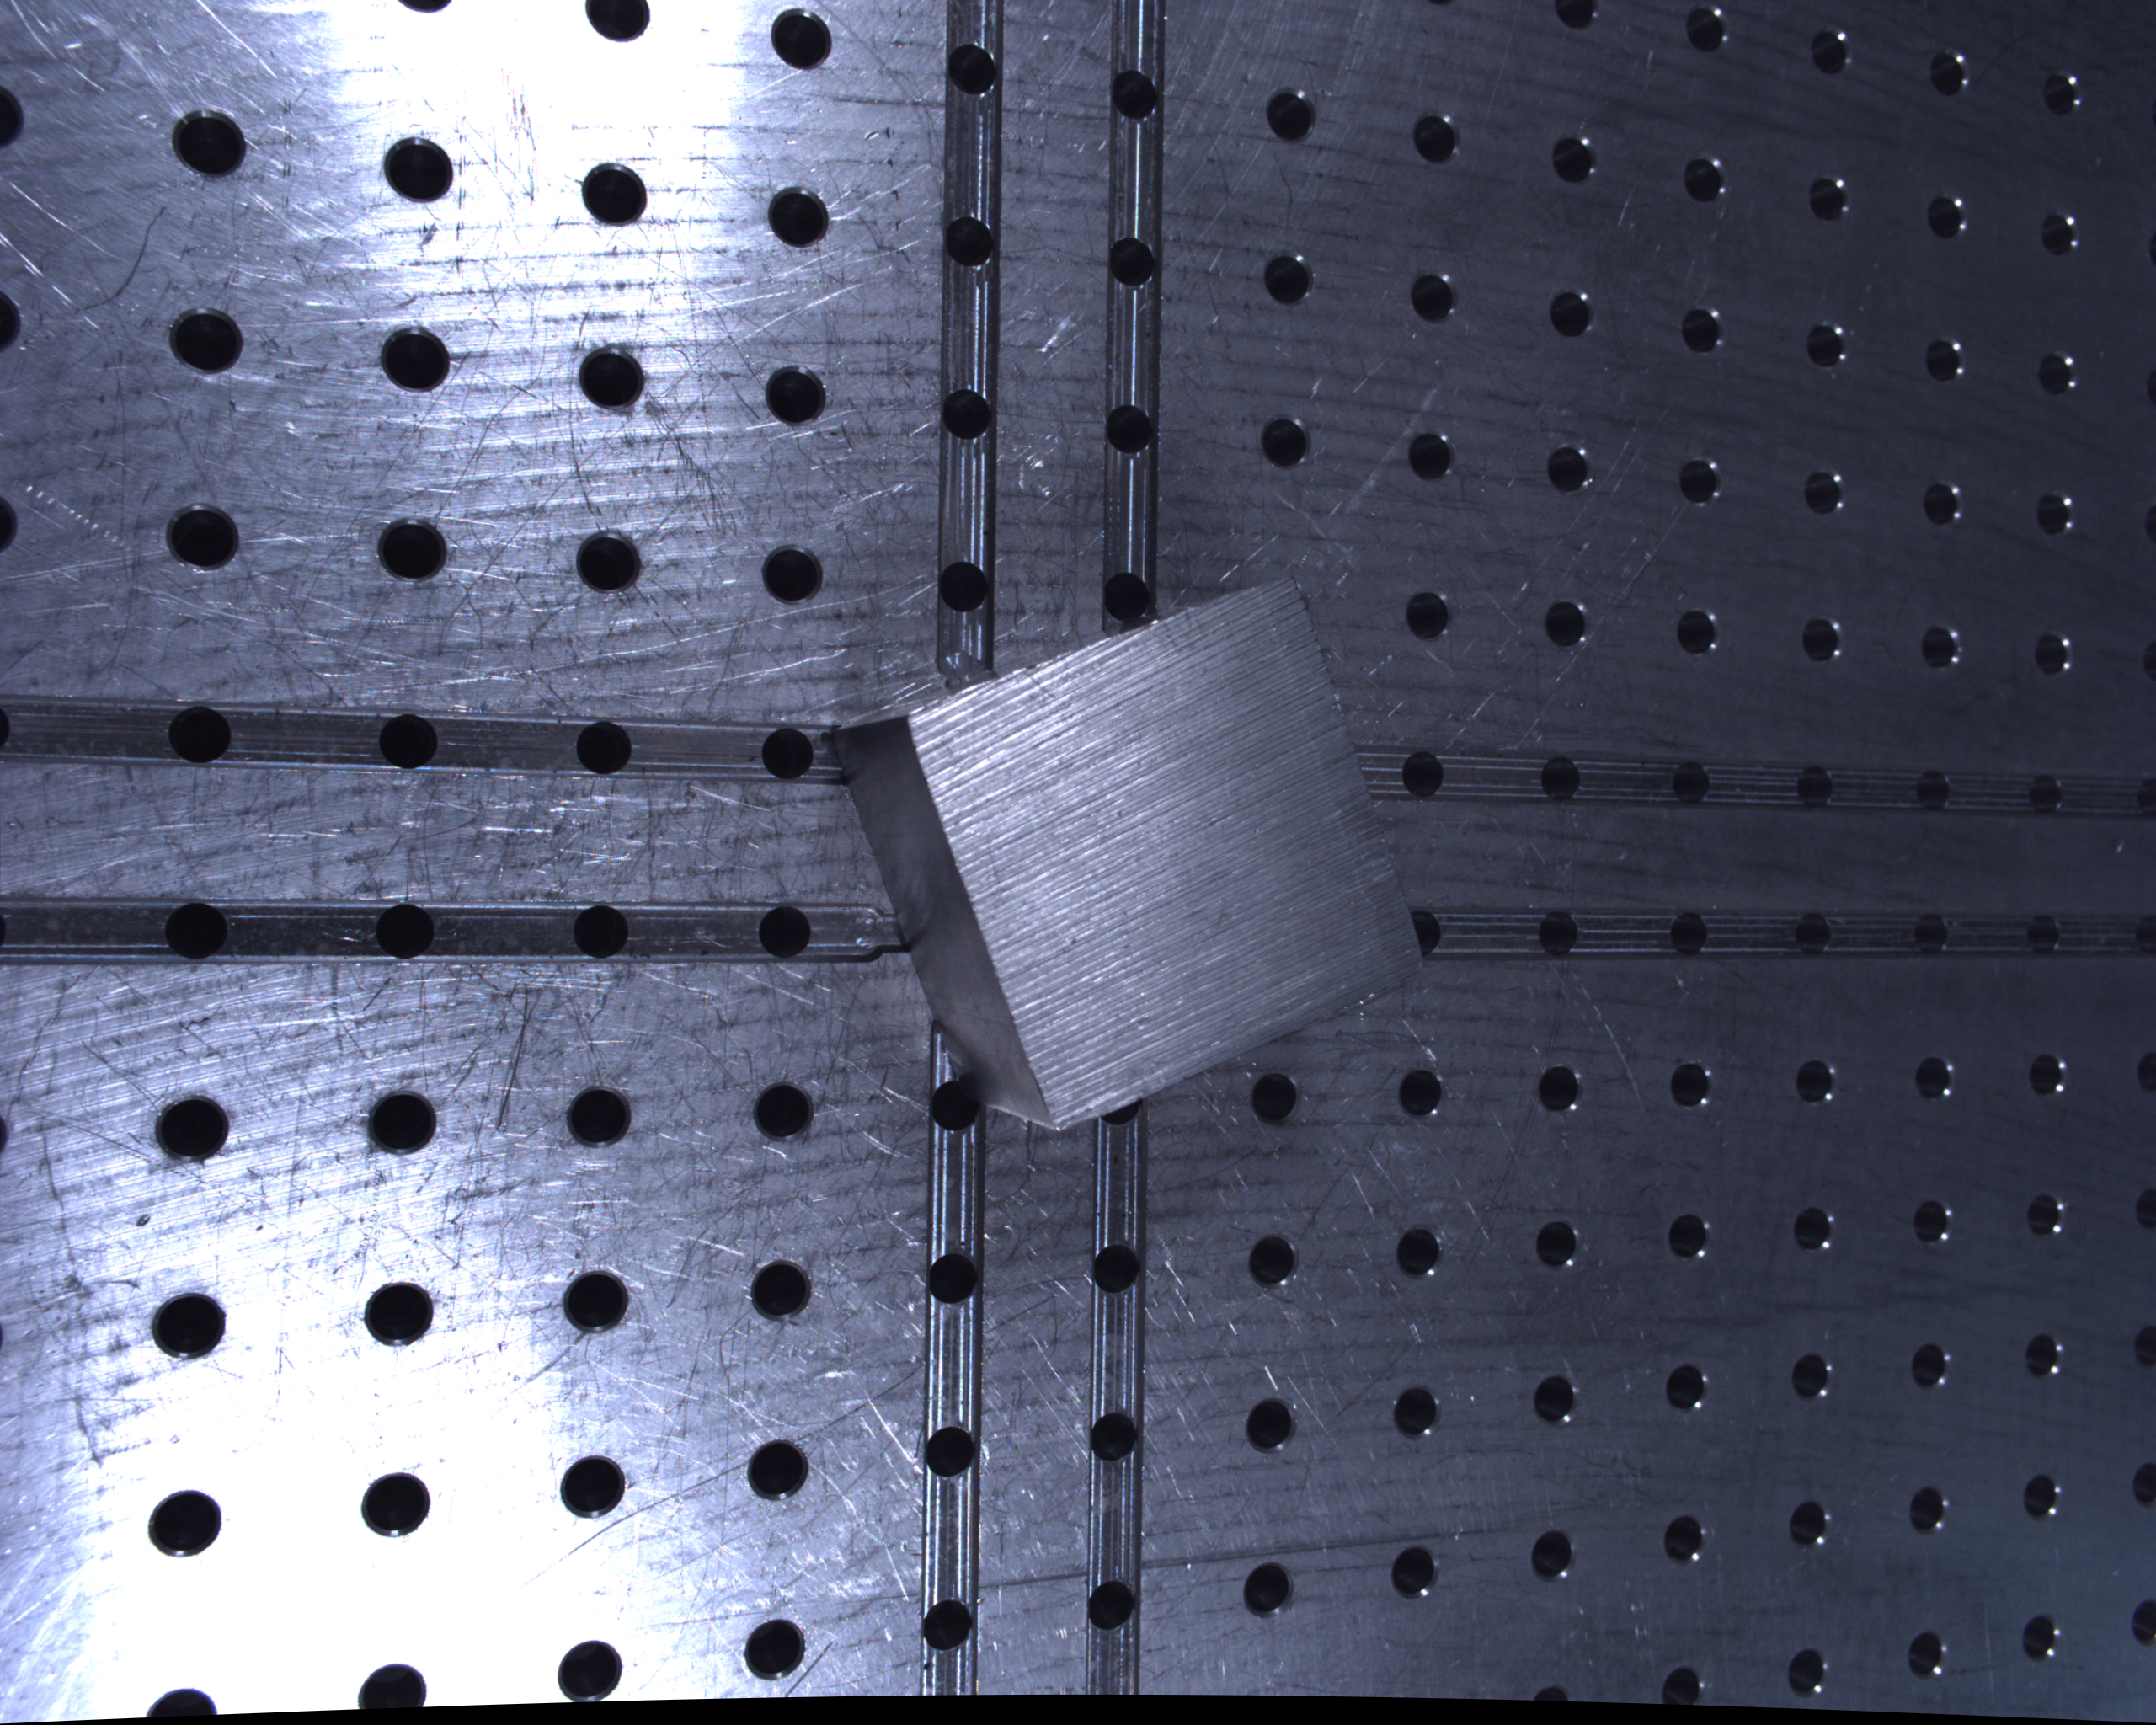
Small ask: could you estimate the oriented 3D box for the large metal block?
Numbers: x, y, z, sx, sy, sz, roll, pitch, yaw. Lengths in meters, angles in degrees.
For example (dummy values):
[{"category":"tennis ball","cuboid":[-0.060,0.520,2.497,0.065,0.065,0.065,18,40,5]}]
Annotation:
[{"category":"large metal block","cuboid":[0.010,-0.002,0.401,0.081,0.050,0.080,-22,98,-19]}]
